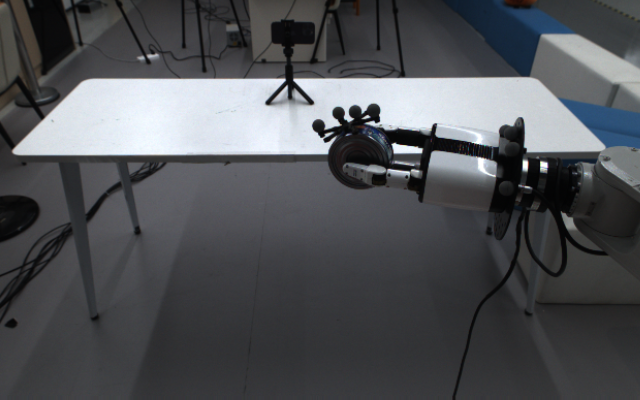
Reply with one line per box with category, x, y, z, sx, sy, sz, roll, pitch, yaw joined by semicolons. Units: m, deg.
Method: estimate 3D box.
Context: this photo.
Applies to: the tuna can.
tuna can;0.058;-0.052;0.655;0.085;0.085;0.034;11;34;13
